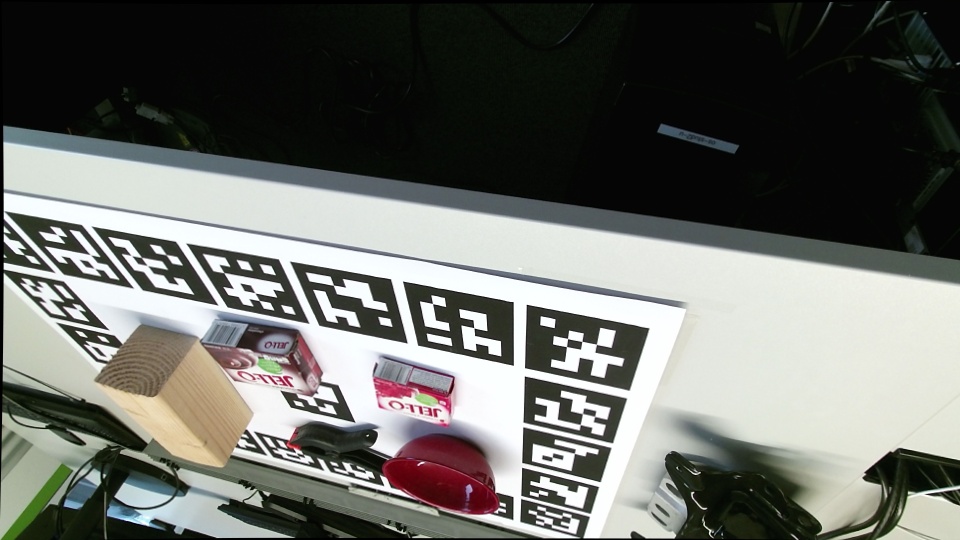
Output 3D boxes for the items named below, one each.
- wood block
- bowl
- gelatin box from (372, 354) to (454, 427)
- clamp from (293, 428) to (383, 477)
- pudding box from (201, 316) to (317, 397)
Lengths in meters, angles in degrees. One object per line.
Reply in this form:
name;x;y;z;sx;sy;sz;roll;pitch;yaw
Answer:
wood block;-0.414;0.177;0.722;0.090;0.090;0.206;12;136;11
bowl;-0.047;0.265;0.710;0.162;0.055;0.162;11;134;12
gelatin box;-0.076;0.137;0.598;0.089;0.030;0.073;15;135;6
clamp;-0.199;0.263;0.780;0.165;0.036;0.122;2;134;21
pudding box;-0.257;0.101;0.626;0.114;0.038;0.090;7;132;11
